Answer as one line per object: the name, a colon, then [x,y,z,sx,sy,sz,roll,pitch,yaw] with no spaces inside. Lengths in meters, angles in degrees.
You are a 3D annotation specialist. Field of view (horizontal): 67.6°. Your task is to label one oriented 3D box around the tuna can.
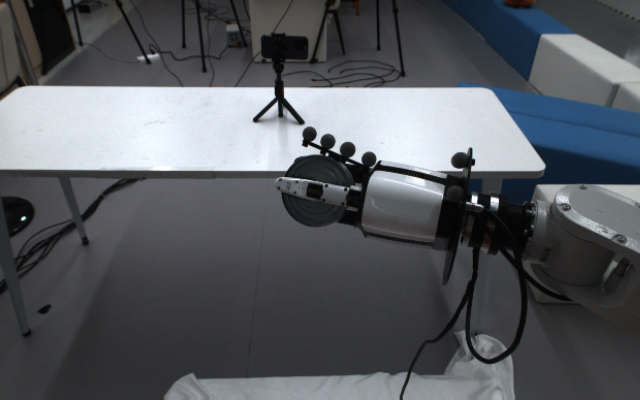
tuna can: [0.002,-0.012,0.583,0.085,0.085,0.034,13,2,16]
